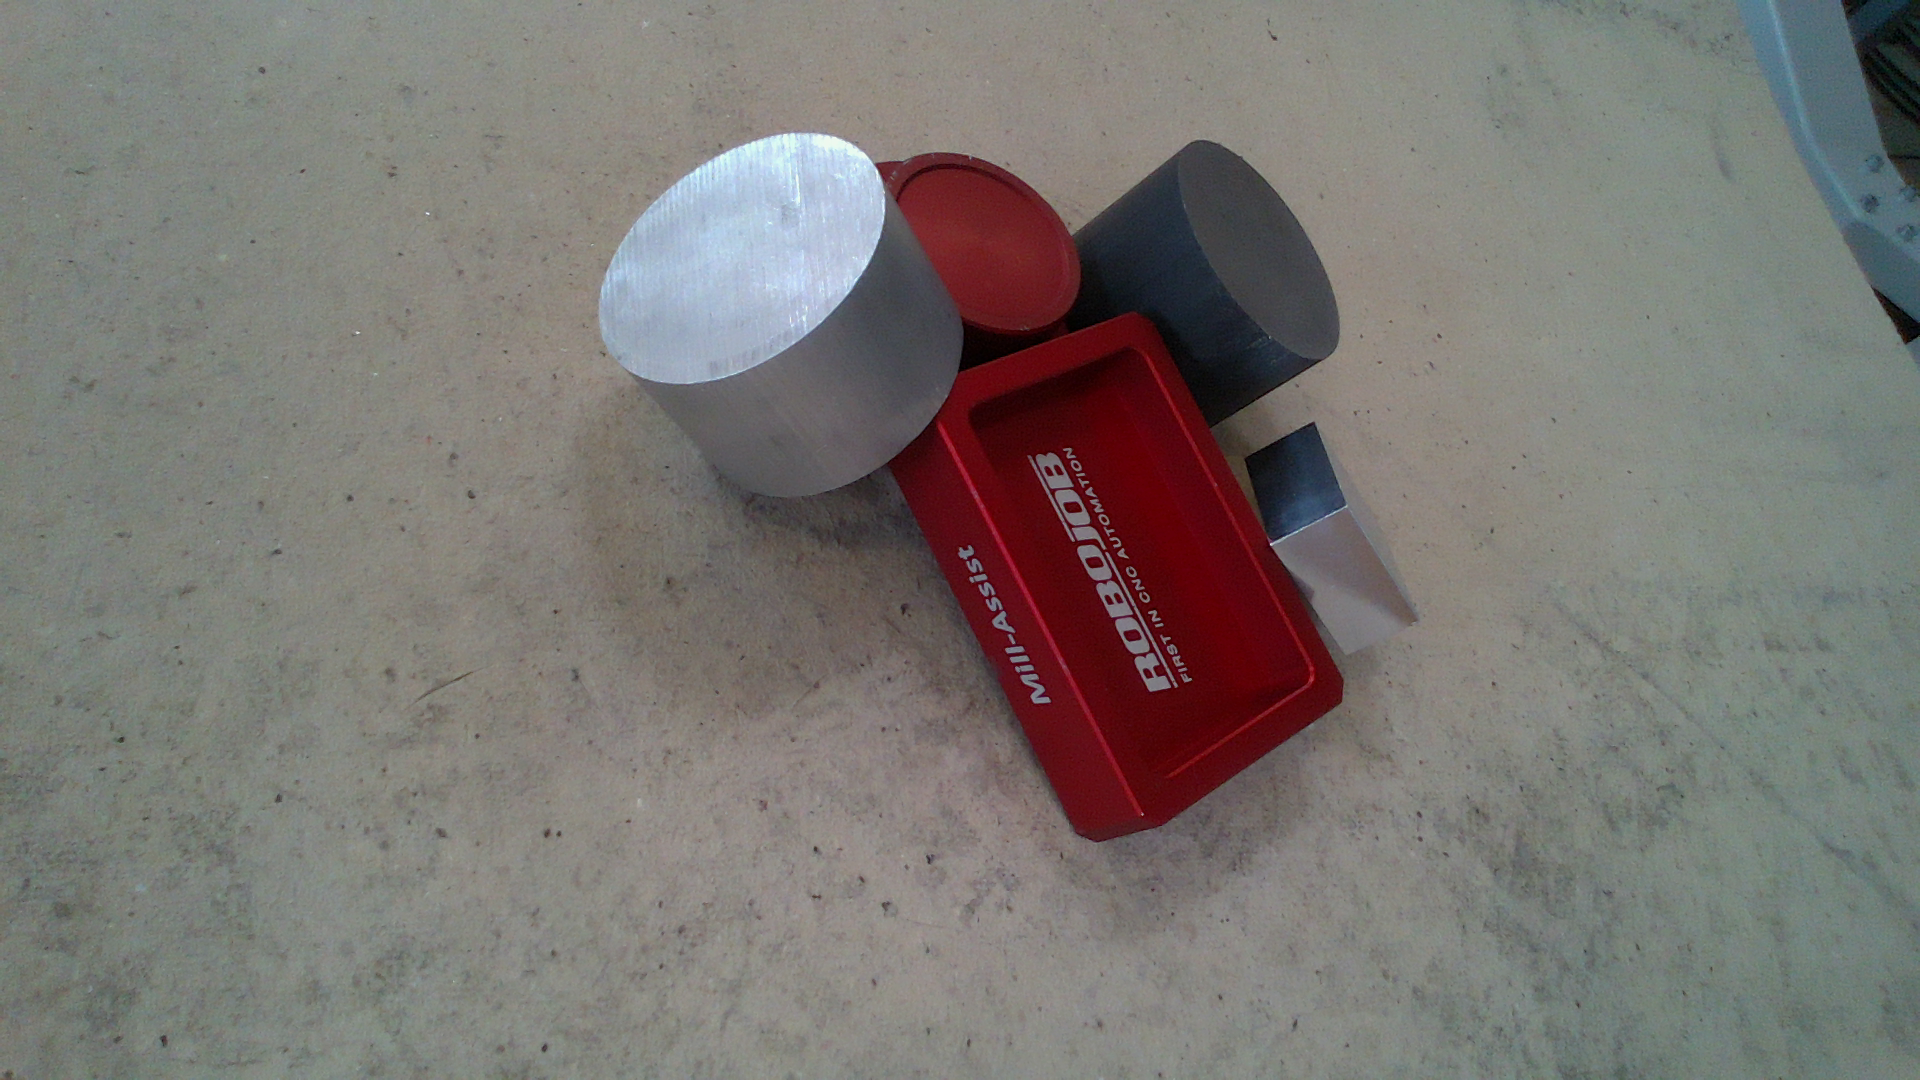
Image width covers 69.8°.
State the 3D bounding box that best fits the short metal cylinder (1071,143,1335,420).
[{"bbox_3d":[0.078,-0.082,0.452,0.080,0.050,0.080,28,46,-33],"label":"short metal cylinder"}]

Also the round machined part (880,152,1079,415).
[{"bbox_3d":[-0.003,-0.080,0.428,0.098,0.042,0.098,14,56,-21],"label":"round machined part"}]

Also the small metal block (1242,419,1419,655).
[{"bbox_3d":[0.115,-0.001,0.430,0.050,0.025,0.050,51,21,-27],"label":"small metal block"}]

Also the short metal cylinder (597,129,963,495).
[{"bbox_3d":[-0.046,-0.059,0.358,0.050,0.080,0.080,54,32,-51],"label":"short metal cylinder"}]

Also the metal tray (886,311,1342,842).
[{"bbox_3d":[0.044,0.007,0.392,0.090,0.030,0.130,-24,84,-37],"label":"metal tray"}]
